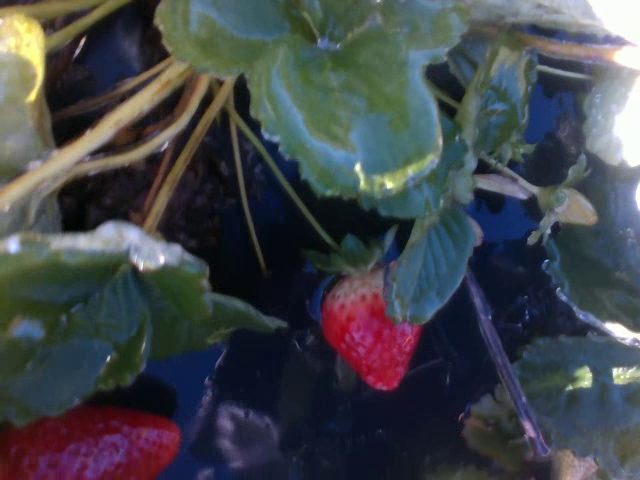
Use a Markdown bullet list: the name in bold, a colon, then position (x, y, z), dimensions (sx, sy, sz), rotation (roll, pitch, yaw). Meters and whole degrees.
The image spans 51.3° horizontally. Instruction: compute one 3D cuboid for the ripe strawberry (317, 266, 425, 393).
- **ripe strawberry**: position (0.021, 0.030, 0.209), dimensions (0.039, 0.047, 0.040), rotation (-21, 26, -25)
